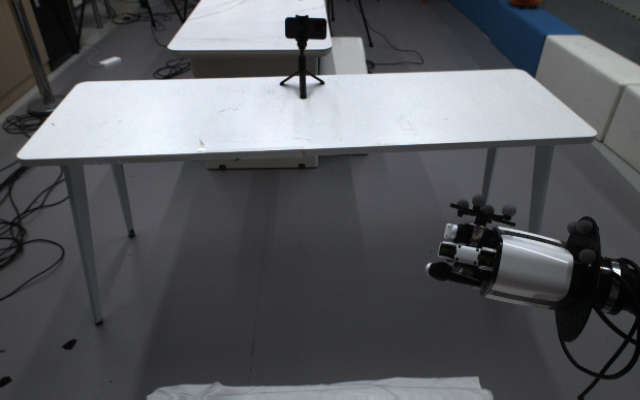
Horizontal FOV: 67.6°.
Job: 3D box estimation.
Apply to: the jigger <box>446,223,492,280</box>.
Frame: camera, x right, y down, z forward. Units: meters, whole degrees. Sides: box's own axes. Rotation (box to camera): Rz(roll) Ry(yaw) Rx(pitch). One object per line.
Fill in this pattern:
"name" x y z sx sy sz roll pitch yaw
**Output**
"jigger" 0.202 0.067 0.640 0.043 0.071 0.043 19 -6 2
